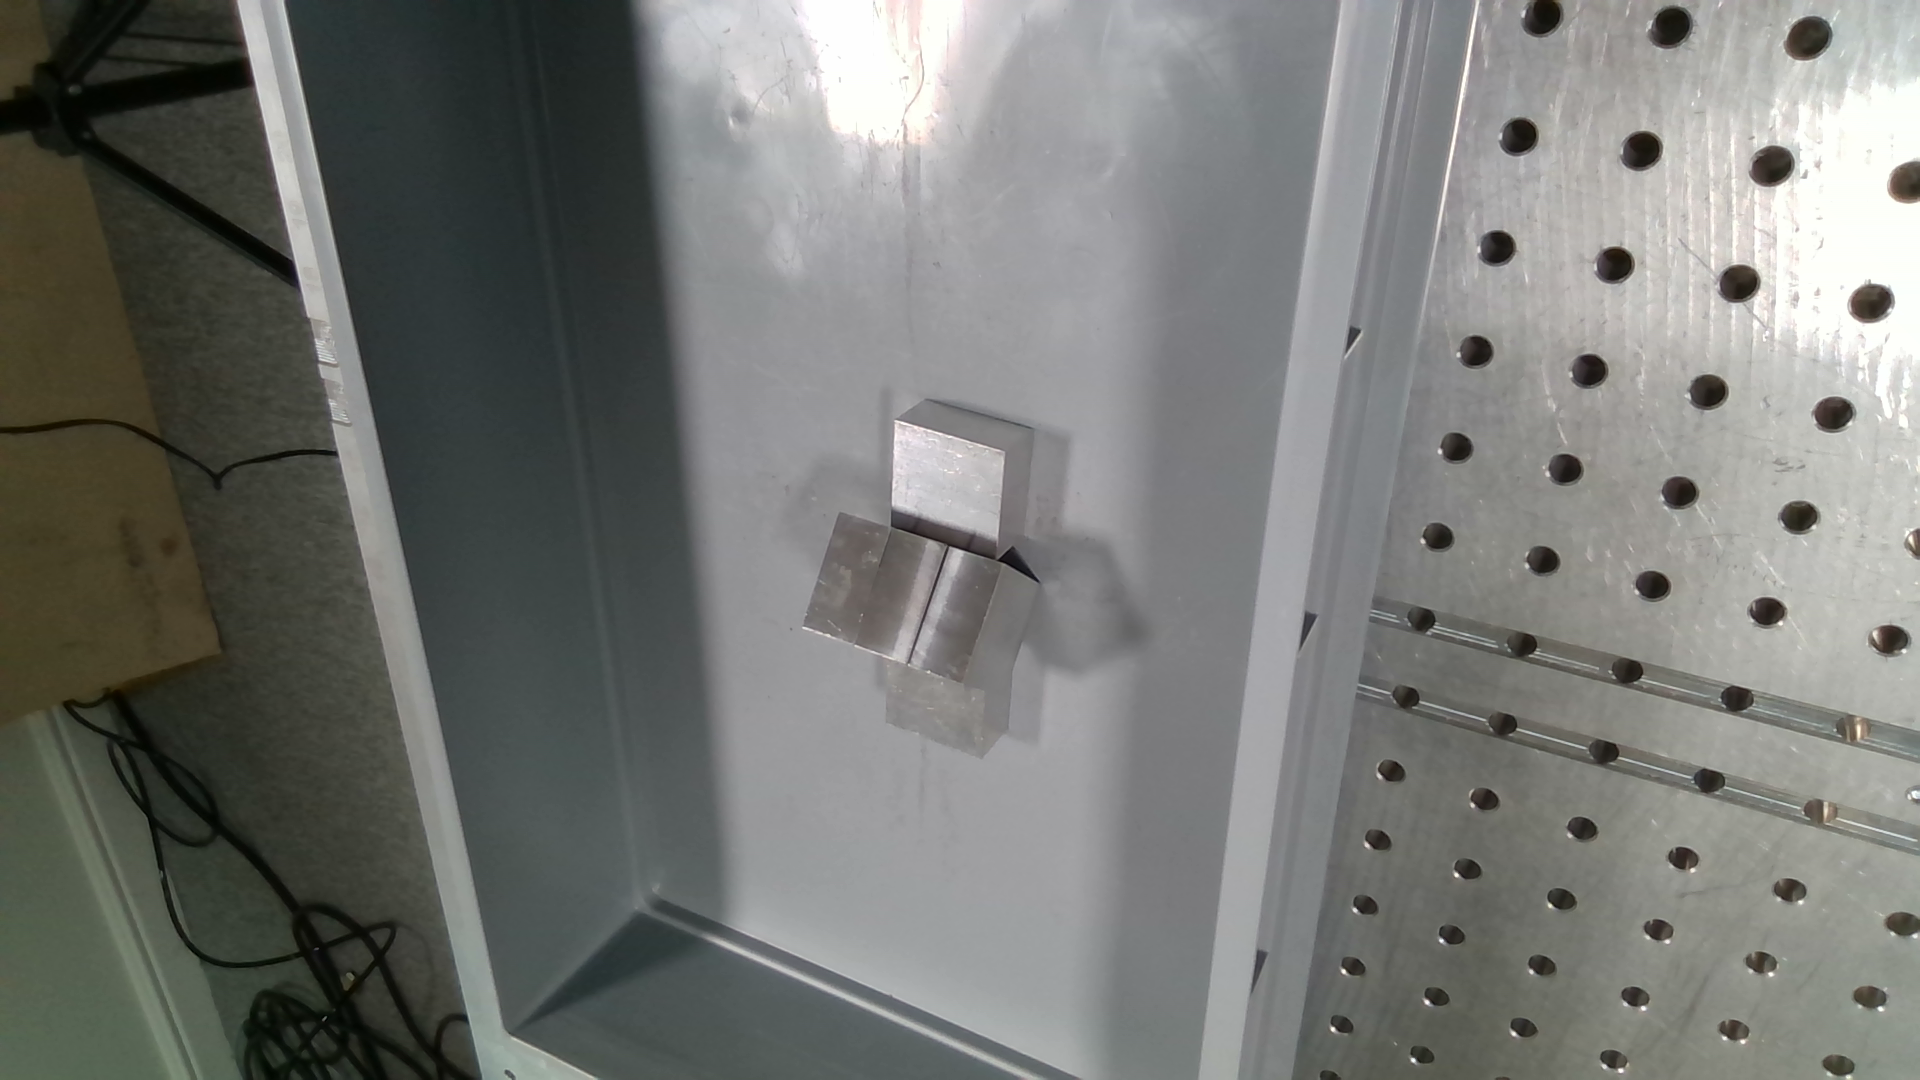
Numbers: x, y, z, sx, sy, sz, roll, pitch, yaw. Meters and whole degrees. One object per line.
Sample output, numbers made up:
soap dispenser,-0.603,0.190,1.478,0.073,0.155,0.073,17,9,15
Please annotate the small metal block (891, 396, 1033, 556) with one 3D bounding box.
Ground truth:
small metal block,0.000,-0.026,0.564,0.050,0.025,0.050,18,123,23

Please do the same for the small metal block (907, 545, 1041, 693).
small metal block,0.007,0.033,0.563,0.025,0.050,0.050,17,86,22

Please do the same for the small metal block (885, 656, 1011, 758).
small metal block,-0.005,0.063,0.617,0.050,0.025,0.050,17,123,23

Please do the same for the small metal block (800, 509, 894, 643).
small metal block,-0.038,0.019,0.583,0.025,0.050,0.050,16,86,23

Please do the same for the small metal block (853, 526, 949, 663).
small metal block,-0.016,0.026,0.573,0.025,0.050,0.050,16,86,23
